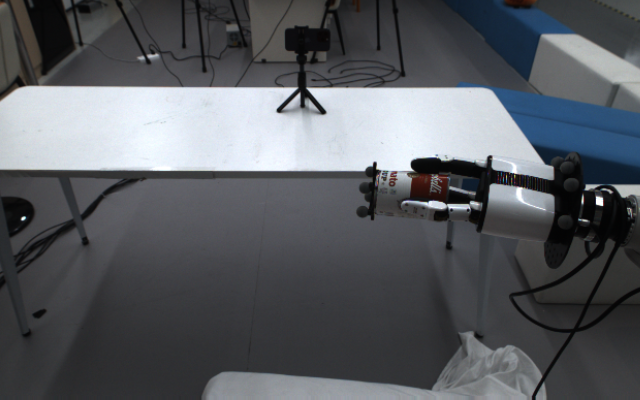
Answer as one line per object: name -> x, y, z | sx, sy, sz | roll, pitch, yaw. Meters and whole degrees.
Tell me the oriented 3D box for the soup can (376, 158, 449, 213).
soup can -> 0.134, -0.008, 0.698 | 0.101, 0.067, 0.067 | 5, 35, 13
